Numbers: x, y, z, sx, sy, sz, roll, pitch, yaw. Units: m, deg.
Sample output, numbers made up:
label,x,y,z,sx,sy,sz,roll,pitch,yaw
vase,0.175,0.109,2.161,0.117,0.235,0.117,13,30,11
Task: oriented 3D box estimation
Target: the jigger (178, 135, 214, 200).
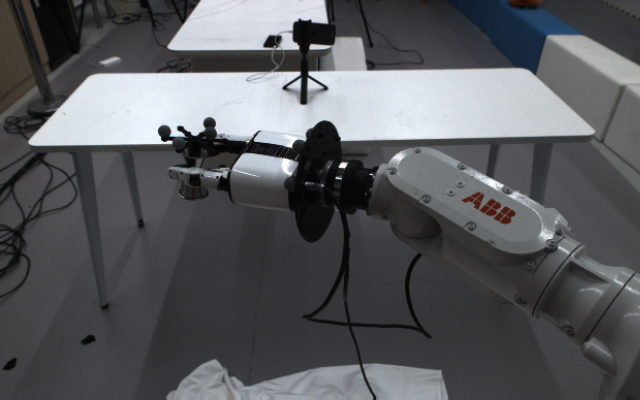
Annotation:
label,x,y,z,sx,sy,sz,roll,pitch,yaw
jigger,-0.179,-0.039,0.690,0.043,0.071,0.043,8,31,-5
